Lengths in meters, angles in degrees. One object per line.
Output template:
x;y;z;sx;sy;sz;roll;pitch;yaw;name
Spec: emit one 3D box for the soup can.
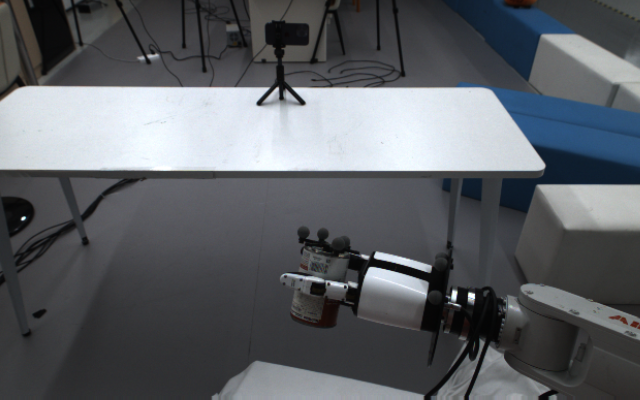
0.002;0.119;0.673;0.067;0.101;0.067;12;2;0;soup can
